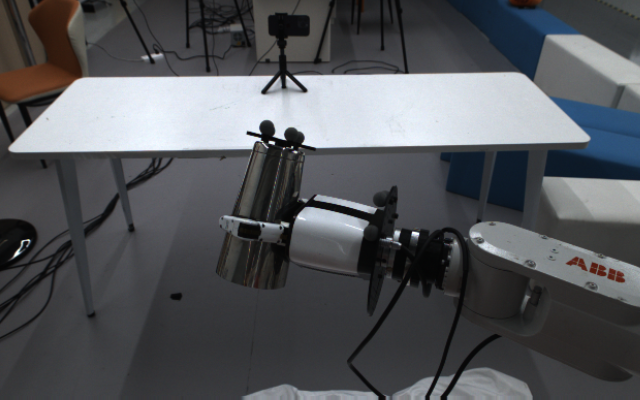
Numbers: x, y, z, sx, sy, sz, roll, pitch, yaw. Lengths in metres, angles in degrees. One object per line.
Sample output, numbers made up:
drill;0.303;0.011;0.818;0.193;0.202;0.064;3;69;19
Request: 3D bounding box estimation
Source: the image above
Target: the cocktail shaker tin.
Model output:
cocktail shaker tin;-0.068;0.017;0.615;0.093;0.170;0.093;13;4;-1
